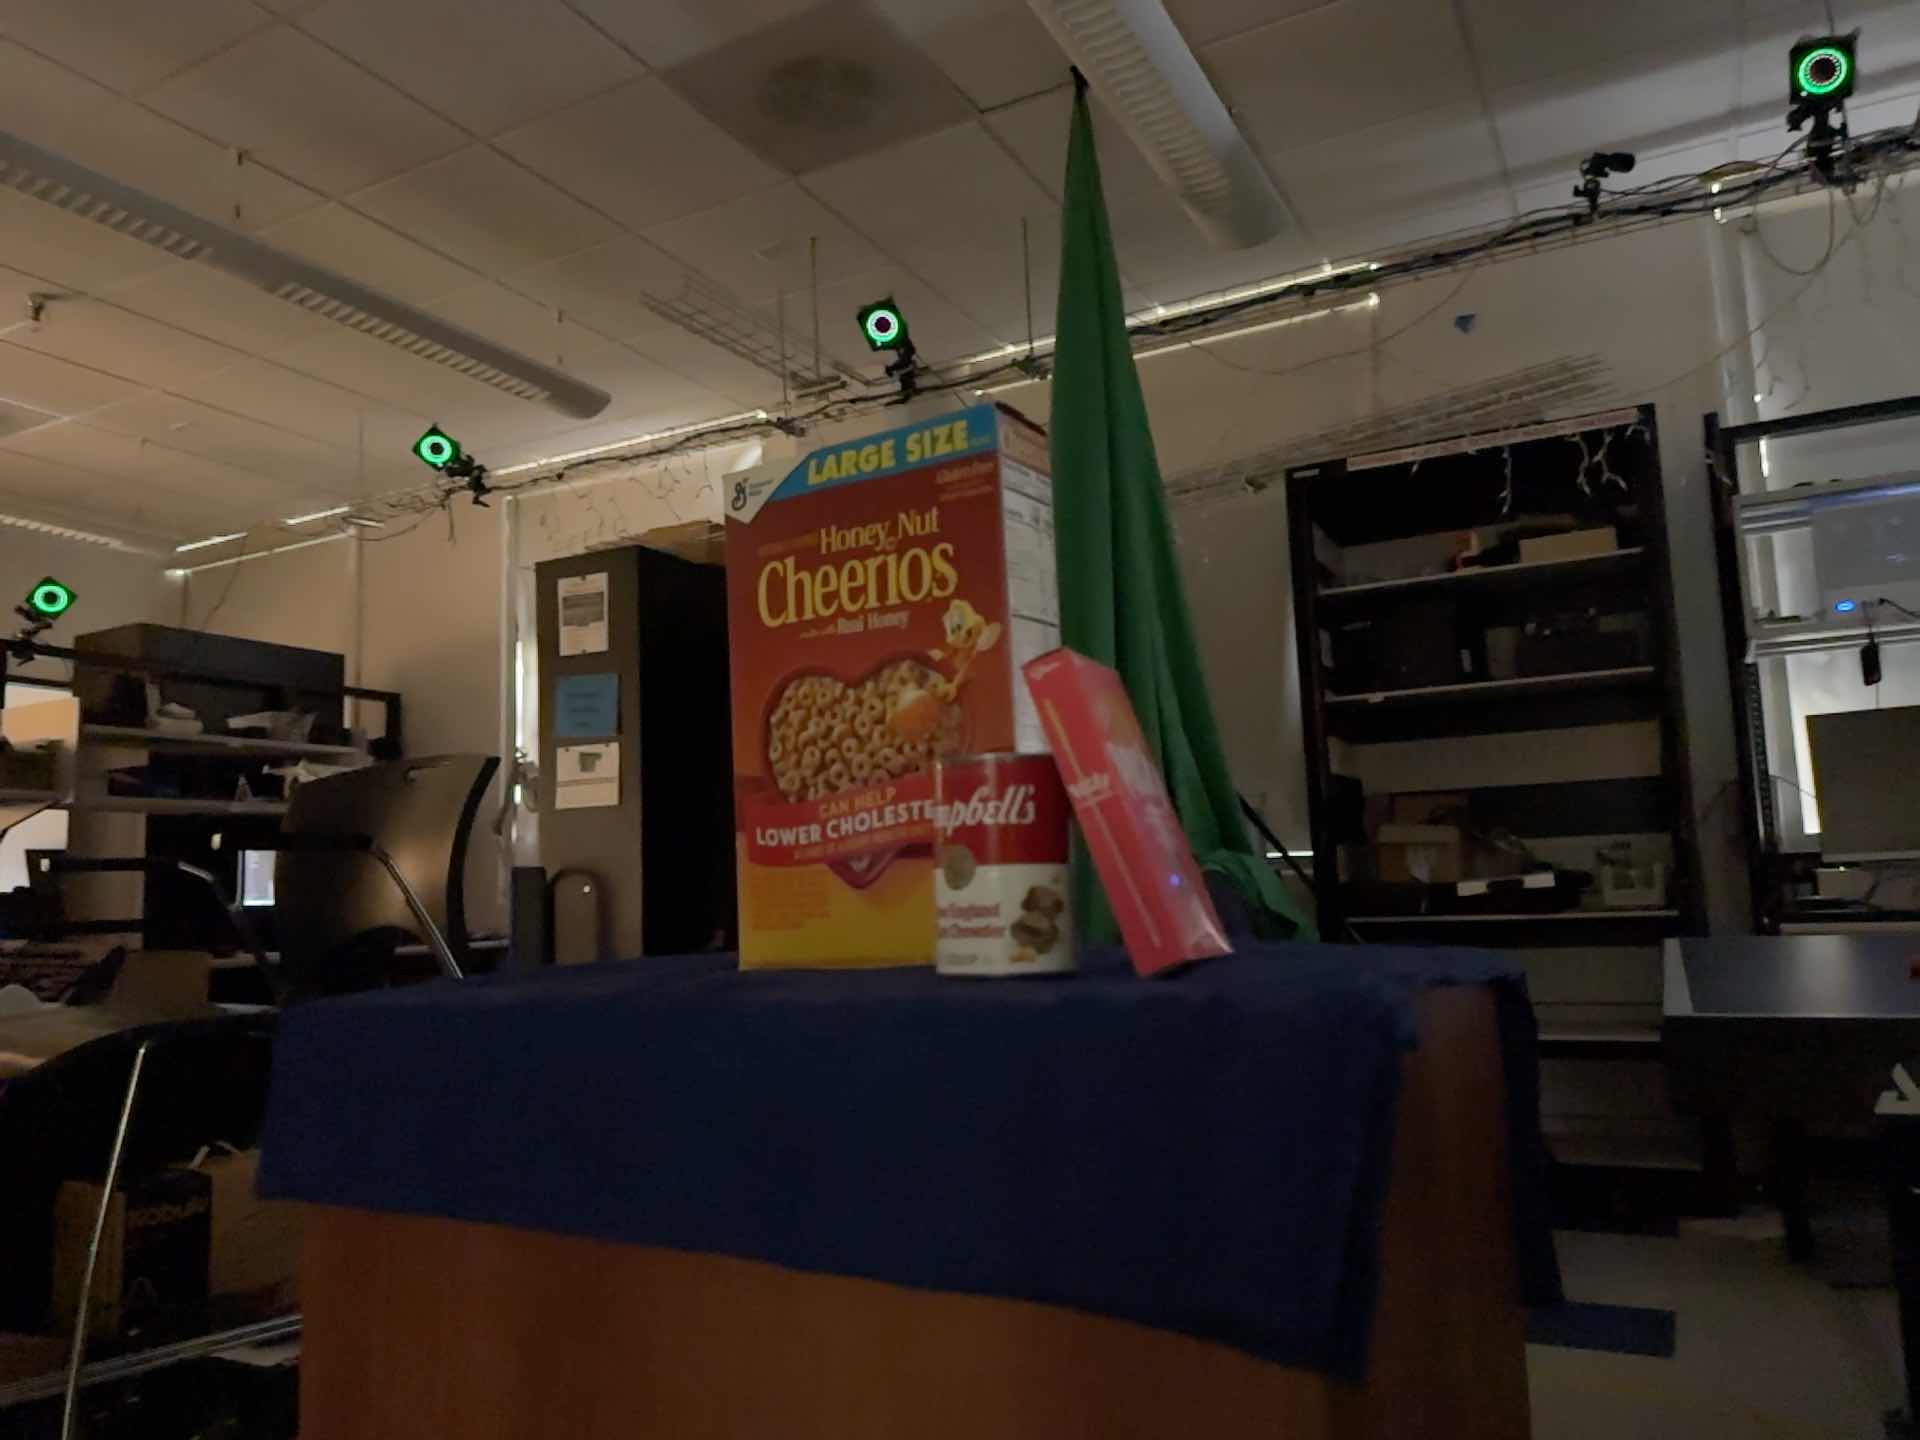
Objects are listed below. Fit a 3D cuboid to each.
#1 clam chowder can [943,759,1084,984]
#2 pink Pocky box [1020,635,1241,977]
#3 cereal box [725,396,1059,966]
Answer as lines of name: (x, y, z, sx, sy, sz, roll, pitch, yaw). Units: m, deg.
clam chowder can: (0.026, 0.071, 0.641, 0.068, 0.102, 0.068, 0, -5, 0)
pink Pocky box: (0.079, 0.039, 0.622, 0.029, 0.154, 0.084, -26, -17, 19)
cereal box: (-0.044, -0.013, 0.785, 0.195, 0.297, 0.065, -6, -7, 36)
